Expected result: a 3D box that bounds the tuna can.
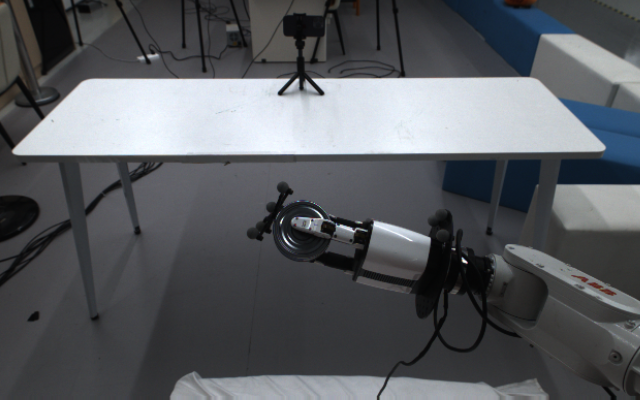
[{"bbox_3d":[-0.021,0.048,0.690,0.085,0.034,0.085,1,76,-5],"label":"tuna can"}]
